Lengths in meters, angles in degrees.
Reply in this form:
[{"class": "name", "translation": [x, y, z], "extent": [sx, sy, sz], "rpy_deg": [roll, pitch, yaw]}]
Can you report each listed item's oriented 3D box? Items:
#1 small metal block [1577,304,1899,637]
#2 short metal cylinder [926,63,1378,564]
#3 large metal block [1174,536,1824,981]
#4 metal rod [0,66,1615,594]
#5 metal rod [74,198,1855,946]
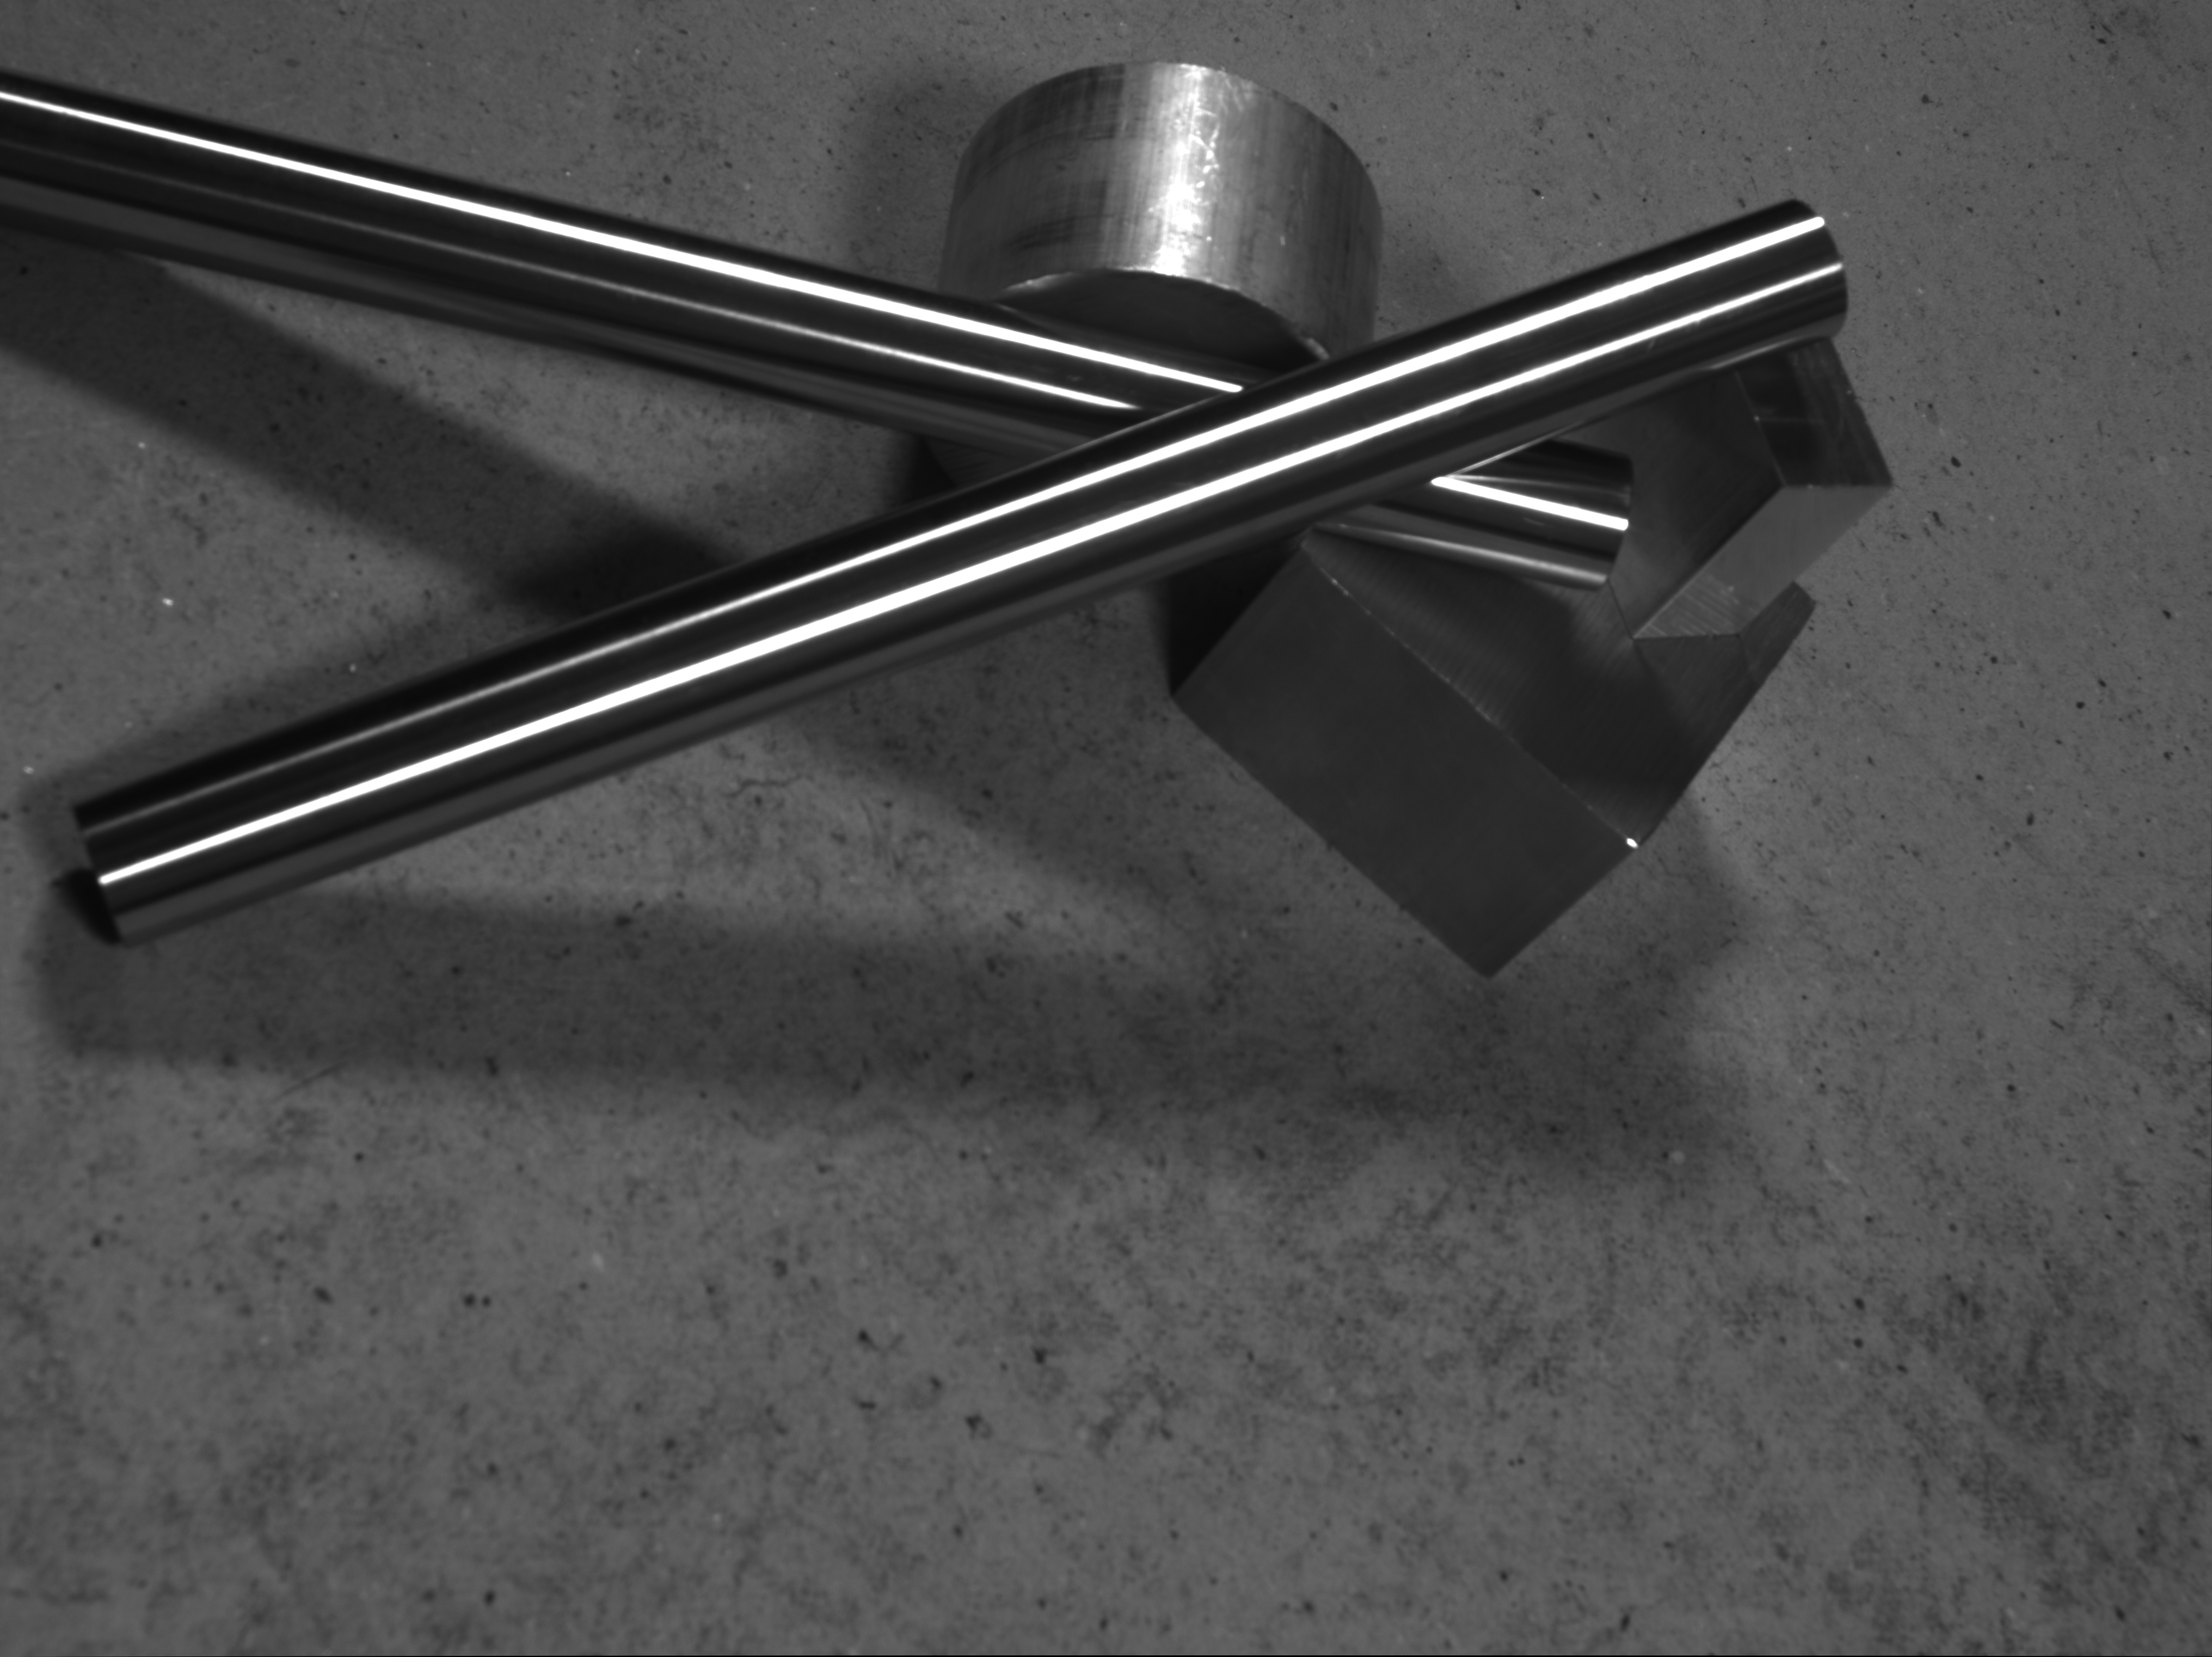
[{"class": "small metal block", "translation": [0.109, -0.069, 0.657], "extent": [0.025, 0.050, 0.050], "rpy_deg": [-4, 64, -29]}, {"class": "short metal cylinder", "translation": [0.008, -0.092, 0.667], "extent": [0.080, 0.080, 0.050], "rpy_deg": [19, 54, -17]}, {"class": "large metal block", "translation": [0.074, -0.033, 0.682], "extent": [0.080, 0.050, 0.080], "rpy_deg": [41, 52, 1]}, {"class": "metal rod", "translation": [-0.060, -0.086, 0.624], "extent": [0.300, 0.025, 0.025], "rpy_deg": [13, 56, -7]}, {"class": "metal rod", "translation": [-0.015, -0.045, 0.591], "extent": [0.300, 0.025, 0.025], "rpy_deg": [-20, 71, -14]}]
